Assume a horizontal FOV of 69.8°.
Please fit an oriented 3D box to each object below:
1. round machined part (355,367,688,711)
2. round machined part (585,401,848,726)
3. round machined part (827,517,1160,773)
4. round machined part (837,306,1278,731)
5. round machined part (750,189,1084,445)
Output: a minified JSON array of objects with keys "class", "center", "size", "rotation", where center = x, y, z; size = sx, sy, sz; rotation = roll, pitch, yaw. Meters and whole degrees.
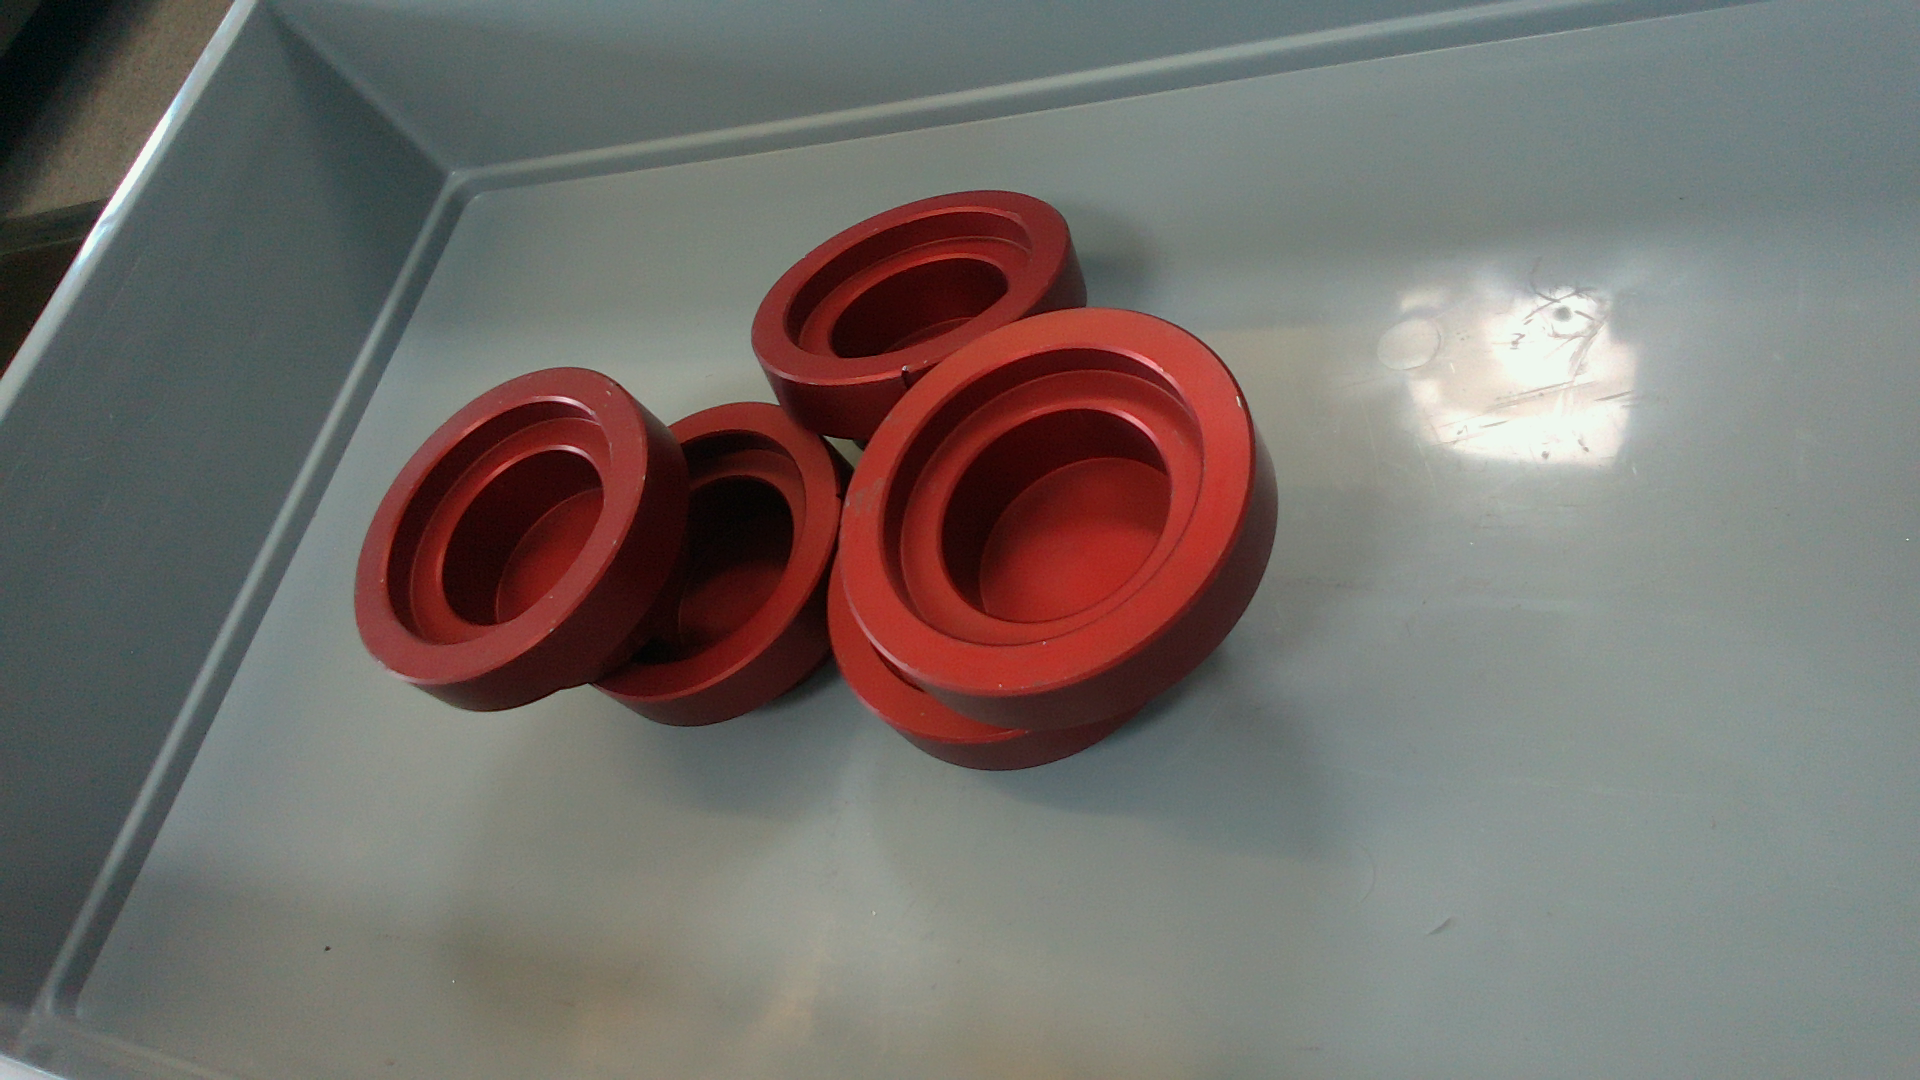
[{"class":"round machined part","center":[-0.118,0.003,0.389],"size":[0.098,0.042,0.098],"rotation":[-13,56,21]},{"class":"round machined part","center":[-0.069,0.011,0.412],"size":[0.098,0.042,0.098],"rotation":[-13,56,21]},{"class":"round machined part","center":[0.017,0.015,0.363],"size":[0.098,0.042,0.098],"rotation":[-13,56,21]},{"class":"round machined part","center":[0.025,-0.002,0.316],"size":[0.098,0.042,0.098],"rotation":[-13,56,21]},{"class":"round machined part","center":[-0.009,-0.061,0.411],"size":[0.098,0.042,0.098],"rotation":[-14,39,12]}]
